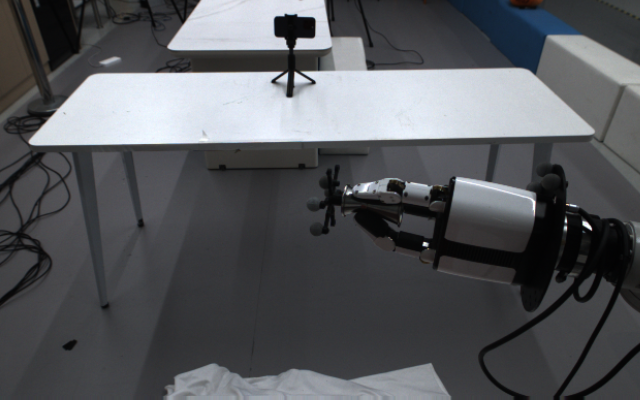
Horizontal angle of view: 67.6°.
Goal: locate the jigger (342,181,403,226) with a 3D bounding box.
[{"bbox_3d":[0.069,0.000,0.565,0.071,0.043,0.043,8,35,14],"label":"jigger"}]
